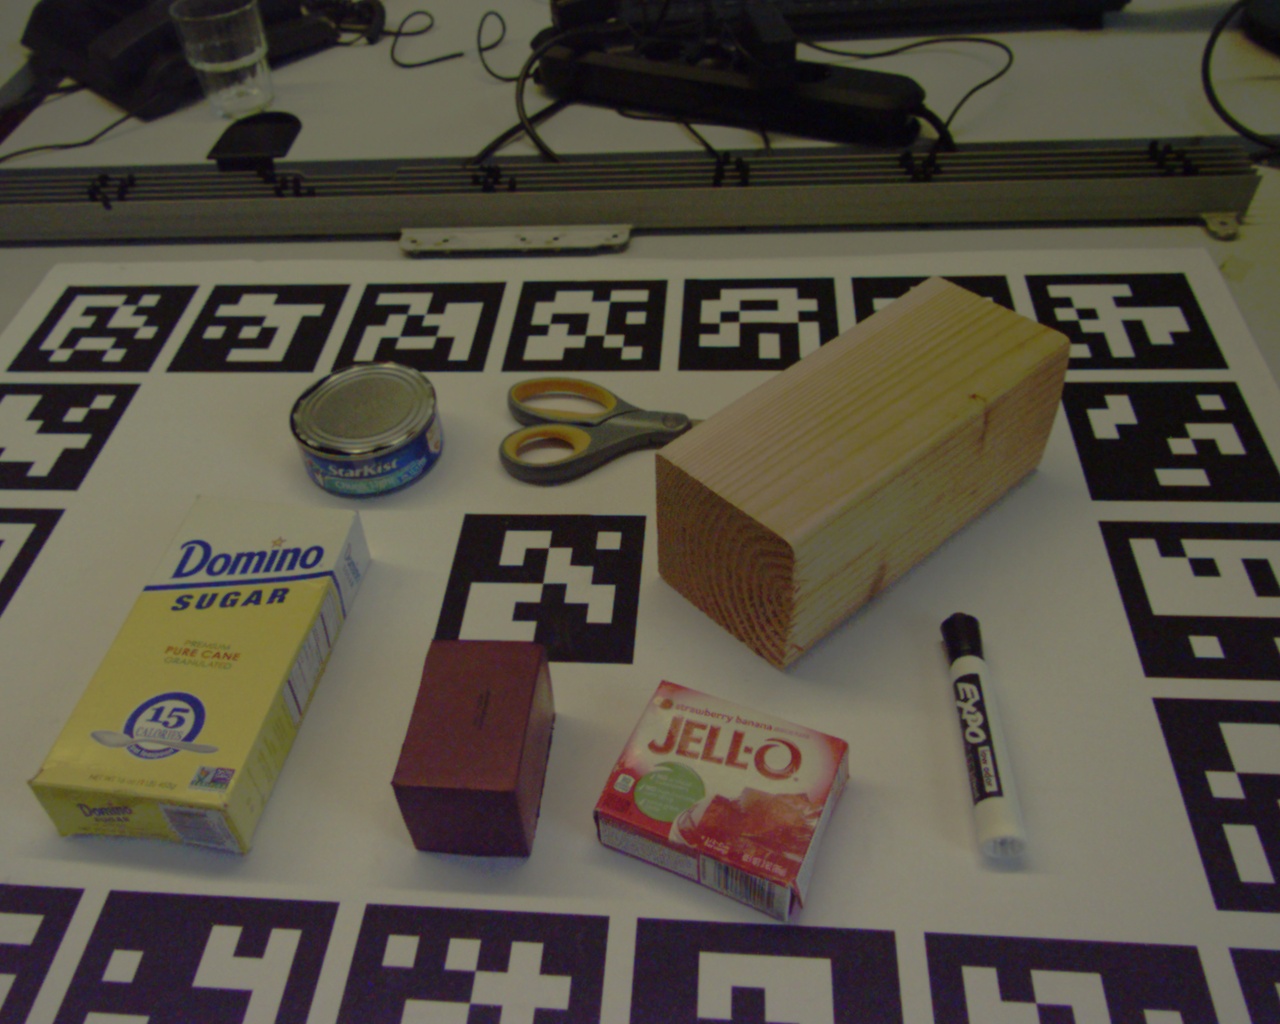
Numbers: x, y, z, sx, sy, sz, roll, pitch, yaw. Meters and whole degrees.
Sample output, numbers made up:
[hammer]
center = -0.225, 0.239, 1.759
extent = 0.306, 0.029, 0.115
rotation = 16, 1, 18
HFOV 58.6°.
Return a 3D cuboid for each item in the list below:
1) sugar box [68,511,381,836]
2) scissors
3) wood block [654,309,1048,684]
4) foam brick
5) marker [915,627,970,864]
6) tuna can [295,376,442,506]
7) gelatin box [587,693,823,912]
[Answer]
[sugar box]
center = -0.208, 0.077, 0.596
extent = 0.093, 0.045, 0.176
rotation = 5, 47, 9
[scissors]
center = 0.007, -0.039, 0.700
extent = 0.204, 0.016, 0.087
rotation = 5, 48, 14
[wood block]
center = 0.115, -0.014, 0.617
extent = 0.205, 0.090, 0.091
rotation = -34, 51, -24
[foam brick]
center = -0.073, 0.112, 0.536
extent = 0.053, 0.051, 0.078
rotation = 2, 48, 8
[marker]
center = 0.143, 0.106, 0.542
extent = 0.020, 0.019, 0.121
rotation = 2, 49, 7
[tuna can]
center = -0.167, -0.044, 0.709
extent = 0.086, 0.033, 0.086
rotation = -4, 47, 3
[gelatin box]
center = 0.031, 0.131, 0.527
extent = 0.090, 0.030, 0.073
rotation = 15, 51, 20
